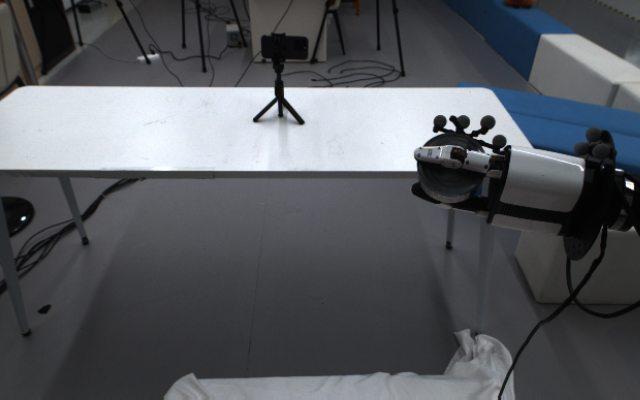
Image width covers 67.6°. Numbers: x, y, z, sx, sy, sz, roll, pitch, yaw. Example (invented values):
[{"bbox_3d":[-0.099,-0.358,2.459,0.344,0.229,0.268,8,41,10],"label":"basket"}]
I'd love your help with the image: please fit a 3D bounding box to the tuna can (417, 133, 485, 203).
[{"bbox_3d":[0.168,-0.042,0.618,0.085,0.034,0.085,-4,67,10],"label":"tuna can"}]
